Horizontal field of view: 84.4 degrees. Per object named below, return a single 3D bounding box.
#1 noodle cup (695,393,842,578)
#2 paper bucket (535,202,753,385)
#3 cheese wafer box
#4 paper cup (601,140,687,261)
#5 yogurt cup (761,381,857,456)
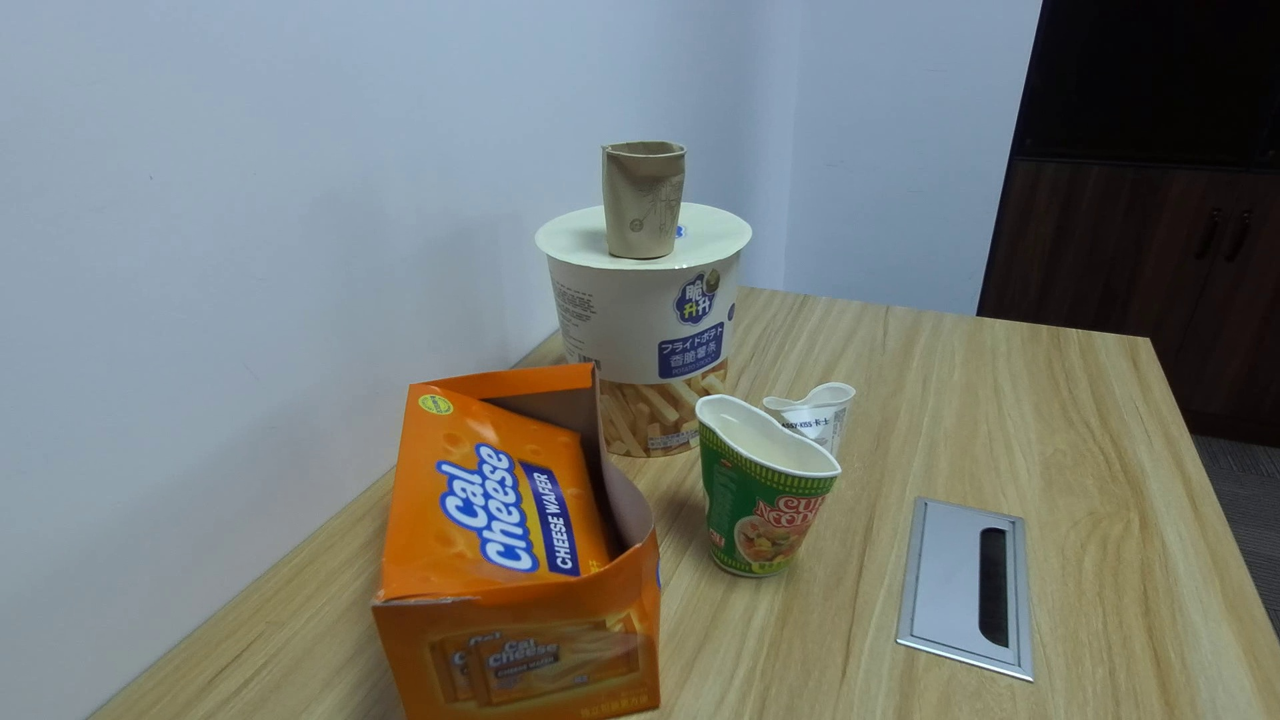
[{"bbox_3d":[0.085,0.093,0.514,0.070,0.111,0.114,-10,30,-12],"label":"noodle cup"},{"bbox_3d":[0.007,-0.028,0.664,0.198,0.195,0.198,-1,28,1],"label":"paper bucket"},{"bbox_3d":[-0.078,0.117,0.474,0.152,0.132,0.229,-6,27,-10],"label":"cheese wafer box"},{"bbox_3d":[0.002,-0.128,0.562,0.066,0.084,0.071,-4,24,-7],"label":"paper cup"},{"bbox_3d":[0.145,0.060,0.616,0.076,0.071,0.053,-23,34,-37],"label":"yogurt cup"}]
